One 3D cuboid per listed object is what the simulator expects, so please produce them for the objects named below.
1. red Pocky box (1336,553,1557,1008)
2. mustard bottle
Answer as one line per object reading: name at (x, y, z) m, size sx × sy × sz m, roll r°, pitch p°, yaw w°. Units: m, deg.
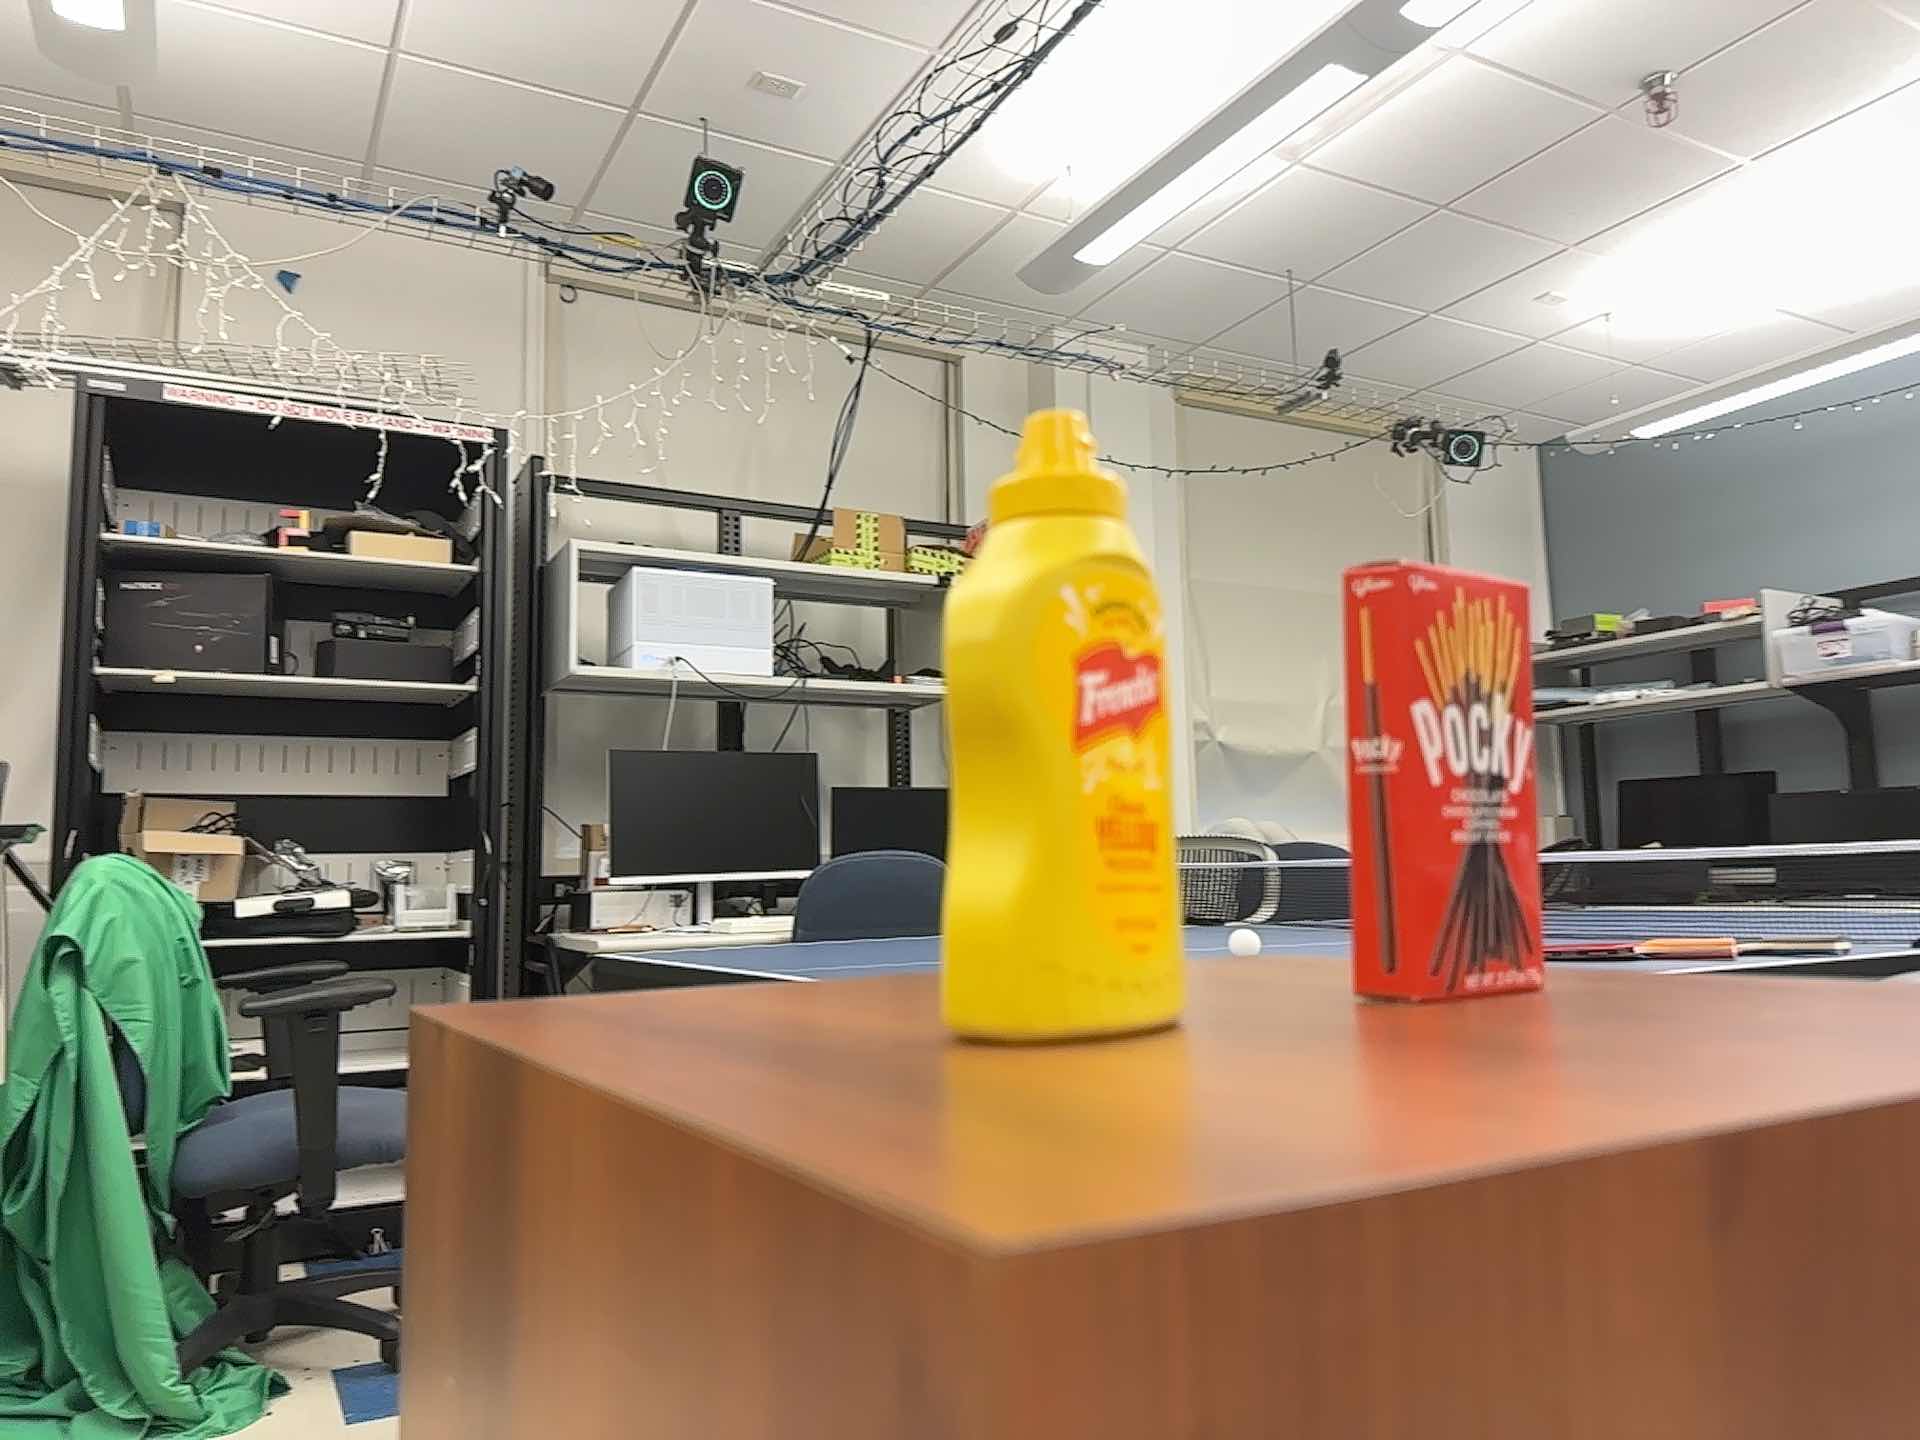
red Pocky box at (0.172, 0.022, 0.477) m, size 0.082 × 0.155 × 0.028 m, roll 4°, pitch -9°, yaw -34°
mustard bottle at (0.028, -0.004, 0.386) m, size 0.054 × 0.184 × 0.092 m, roll -9°, pitch -12°, yaw 43°
